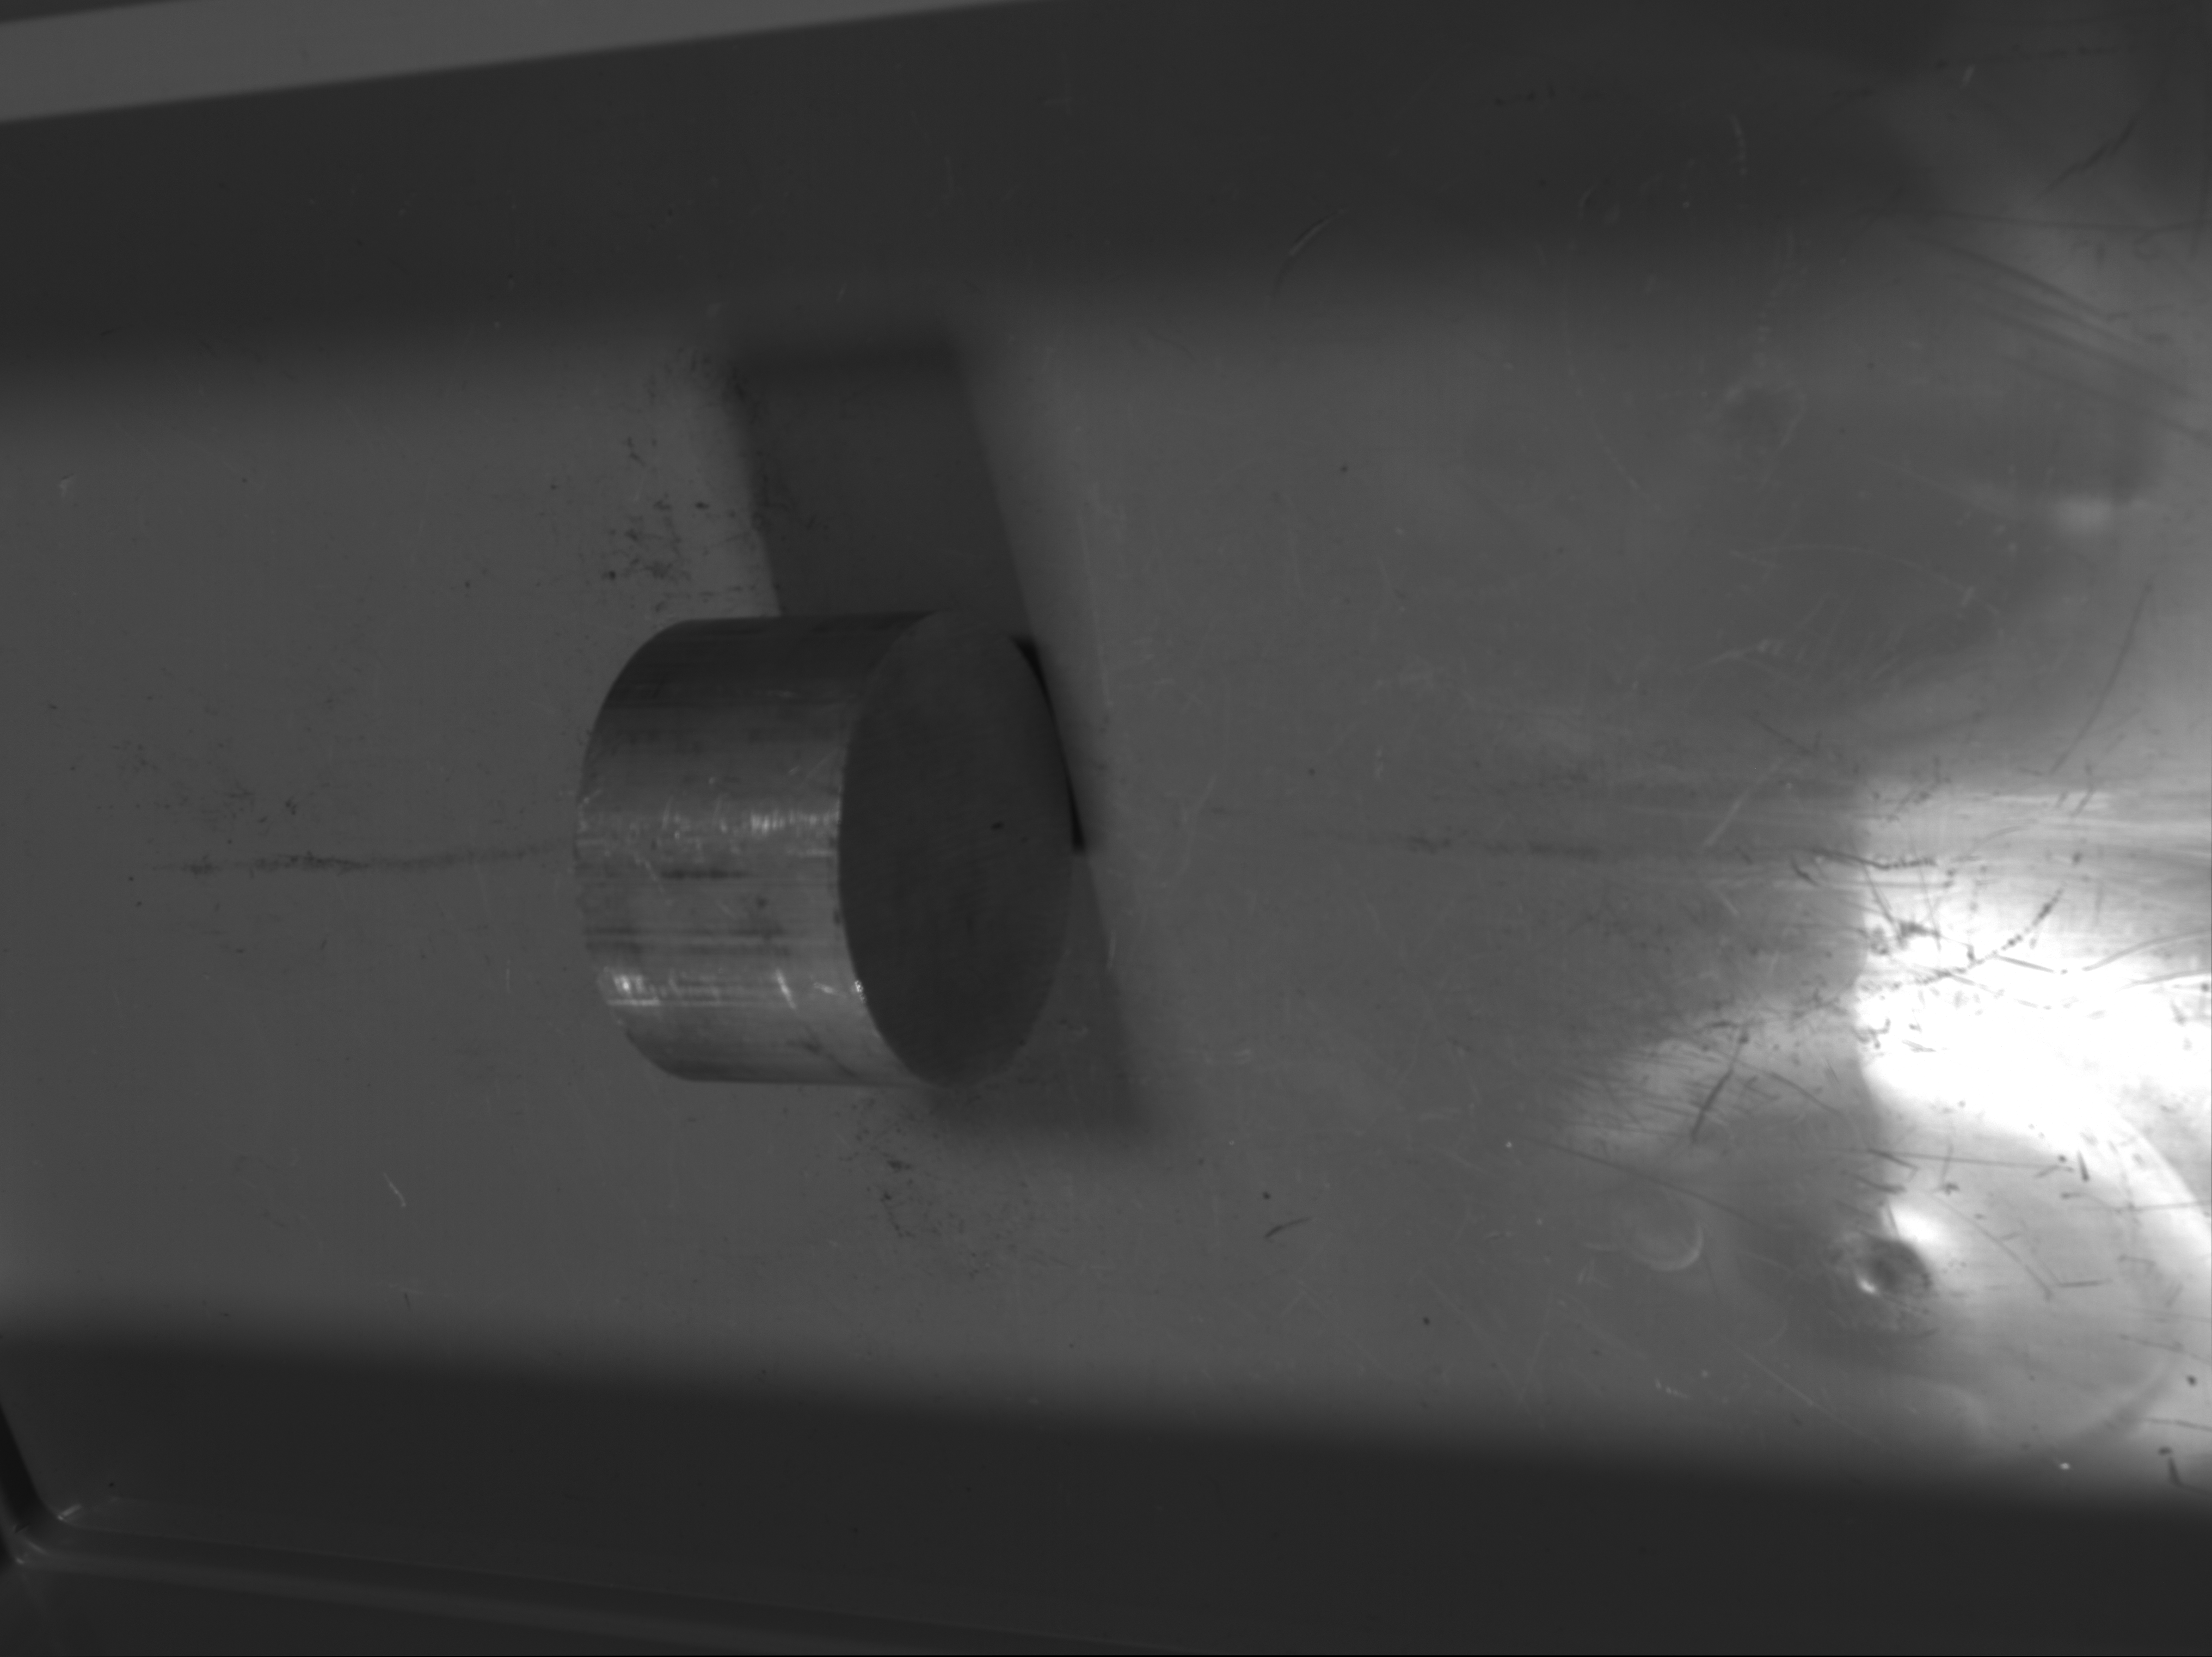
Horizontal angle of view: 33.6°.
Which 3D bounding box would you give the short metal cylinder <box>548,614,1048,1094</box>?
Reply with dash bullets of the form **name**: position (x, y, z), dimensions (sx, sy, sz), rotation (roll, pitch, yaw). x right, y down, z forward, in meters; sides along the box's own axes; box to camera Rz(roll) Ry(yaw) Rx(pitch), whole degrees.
- **short metal cylinder**: position (-0.051, 0.004, 0.622), dimensions (0.050, 0.080, 0.080), rotation (0, 118, 27)
